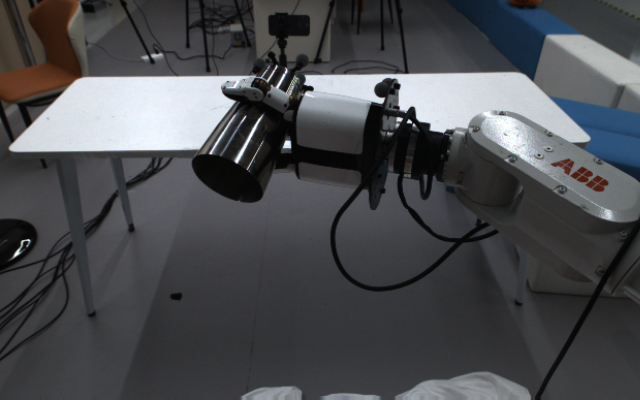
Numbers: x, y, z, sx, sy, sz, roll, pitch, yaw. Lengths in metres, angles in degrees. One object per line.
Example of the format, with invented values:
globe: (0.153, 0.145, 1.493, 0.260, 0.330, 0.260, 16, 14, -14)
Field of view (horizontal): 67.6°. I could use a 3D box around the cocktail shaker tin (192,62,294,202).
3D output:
cocktail shaker tin: (-0.082, -0.092, 0.614, 0.093, 0.093, 0.170, 13, 59, 16)
